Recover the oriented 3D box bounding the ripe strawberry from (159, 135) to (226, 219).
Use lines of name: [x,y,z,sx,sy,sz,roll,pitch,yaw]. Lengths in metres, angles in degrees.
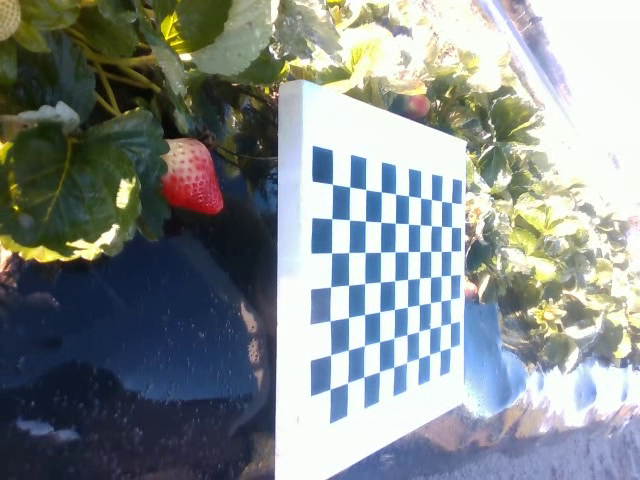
ripe strawberry: [-0.079,-0.034,0.381,0.040,0.040,0.065,-2,-43,34]
